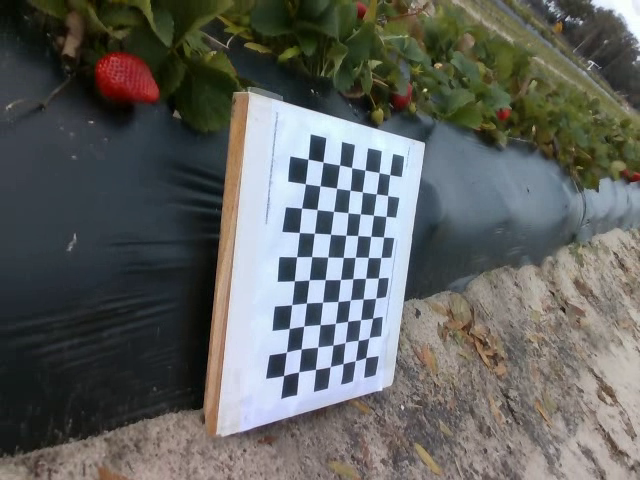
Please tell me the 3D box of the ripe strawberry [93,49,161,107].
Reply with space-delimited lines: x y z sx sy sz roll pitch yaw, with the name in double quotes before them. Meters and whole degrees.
"ripe strawberry" -0.111 -0.096 0.368 0.046 0.037 0.037 38 -26 9
